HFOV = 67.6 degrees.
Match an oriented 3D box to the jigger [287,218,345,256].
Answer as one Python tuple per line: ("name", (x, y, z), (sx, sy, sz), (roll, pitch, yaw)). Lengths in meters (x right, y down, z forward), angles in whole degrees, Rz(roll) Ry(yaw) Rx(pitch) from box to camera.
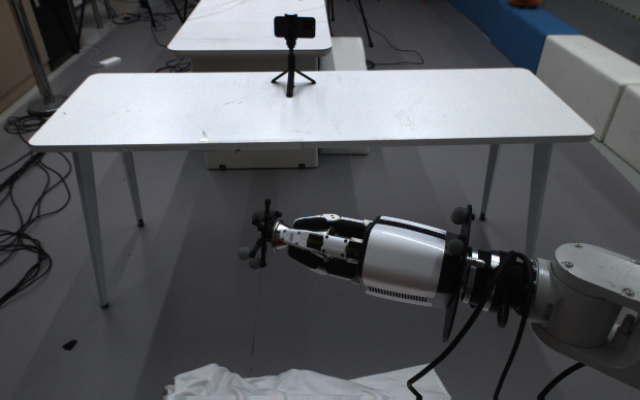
("jigger", (-0.013, 0.044, 0.594), (0.071, 0.043, 0.043), (8, 35, 16))
